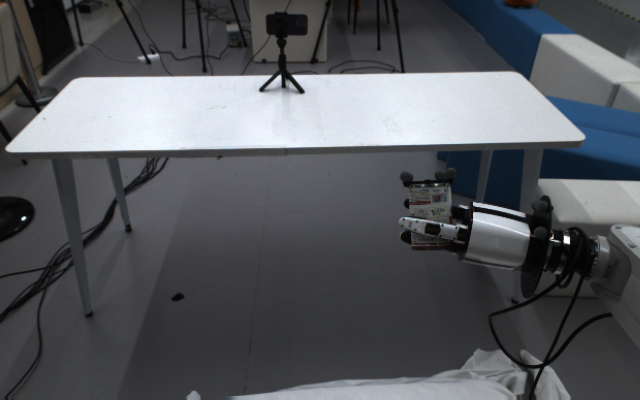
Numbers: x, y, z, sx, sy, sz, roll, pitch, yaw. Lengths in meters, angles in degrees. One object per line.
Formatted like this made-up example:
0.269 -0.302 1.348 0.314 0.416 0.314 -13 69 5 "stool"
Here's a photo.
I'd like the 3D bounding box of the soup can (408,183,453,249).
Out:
0.177 0.026 0.767 0.067 0.101 0.067 -3 -1 0 "soup can"
